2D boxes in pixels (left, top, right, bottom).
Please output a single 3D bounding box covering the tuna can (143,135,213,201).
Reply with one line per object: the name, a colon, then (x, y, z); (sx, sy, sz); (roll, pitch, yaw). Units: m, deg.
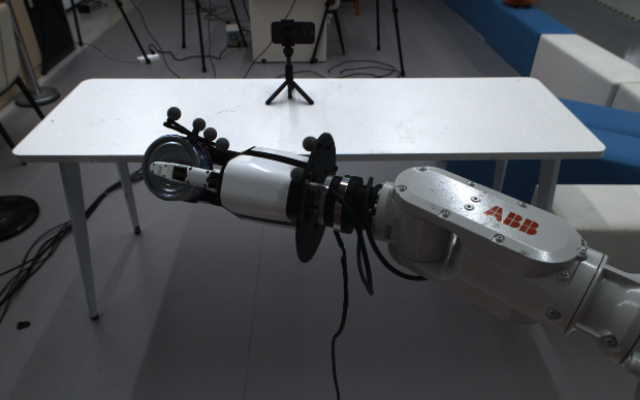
tuna can: (-0.184, -0.041, 0.625); (0.085, 0.085, 0.034); (12, 4, 14)
